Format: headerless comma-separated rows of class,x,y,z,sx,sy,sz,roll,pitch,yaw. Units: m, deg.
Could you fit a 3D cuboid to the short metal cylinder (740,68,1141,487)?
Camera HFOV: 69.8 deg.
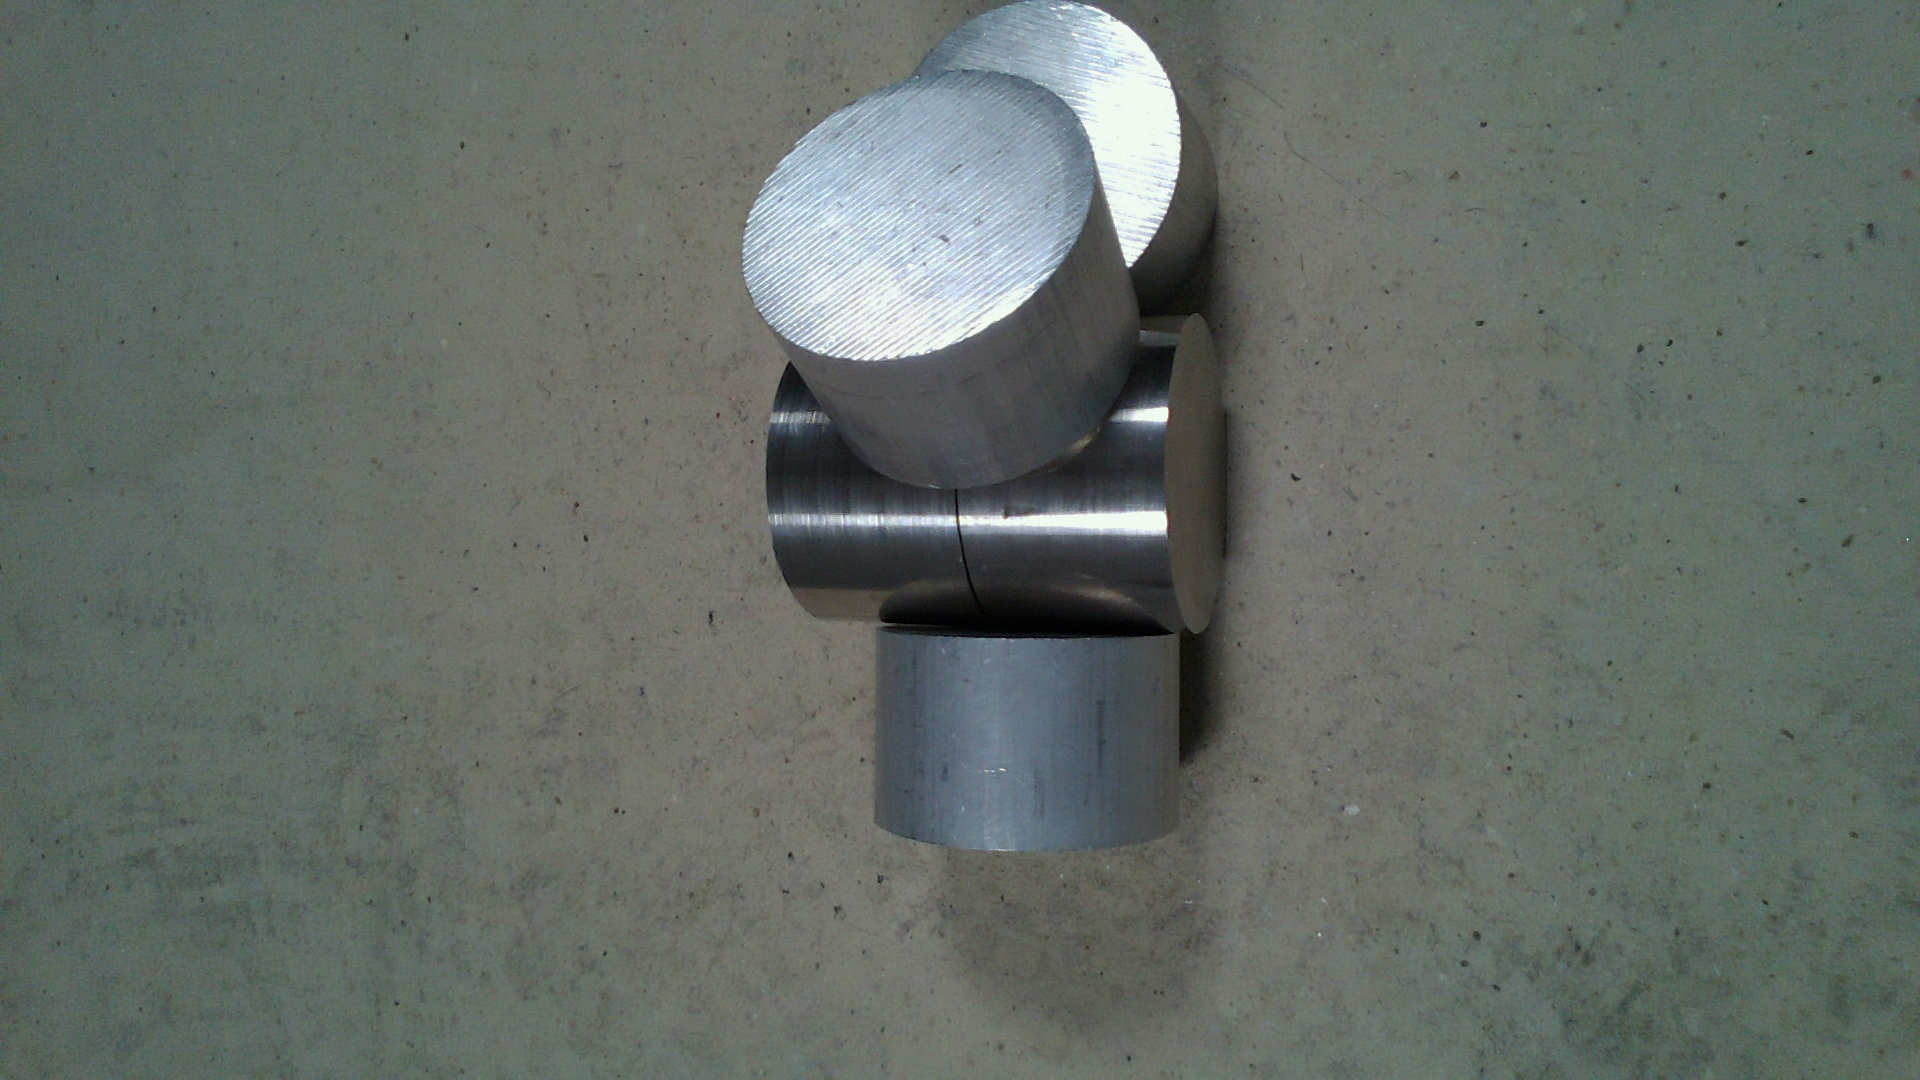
short metal cylinder,-0.003,-0.059,0.313,0.080,0.050,0.080,-9,59,15

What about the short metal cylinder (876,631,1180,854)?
short metal cylinder,0.018,0.048,0.361,0.080,0.080,0.050,0,90,20

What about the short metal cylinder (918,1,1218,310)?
short metal cylinder,0.026,-0.097,0.374,0.080,0.050,0.080,0,90,20

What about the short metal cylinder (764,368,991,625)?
short metal cylinder,-0.012,-0.017,0.371,0.050,0.080,0.080,1,90,20

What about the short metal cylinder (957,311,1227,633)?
short metal cylinder,0.037,-0.017,0.353,0.050,0.080,0.080,0,90,21
